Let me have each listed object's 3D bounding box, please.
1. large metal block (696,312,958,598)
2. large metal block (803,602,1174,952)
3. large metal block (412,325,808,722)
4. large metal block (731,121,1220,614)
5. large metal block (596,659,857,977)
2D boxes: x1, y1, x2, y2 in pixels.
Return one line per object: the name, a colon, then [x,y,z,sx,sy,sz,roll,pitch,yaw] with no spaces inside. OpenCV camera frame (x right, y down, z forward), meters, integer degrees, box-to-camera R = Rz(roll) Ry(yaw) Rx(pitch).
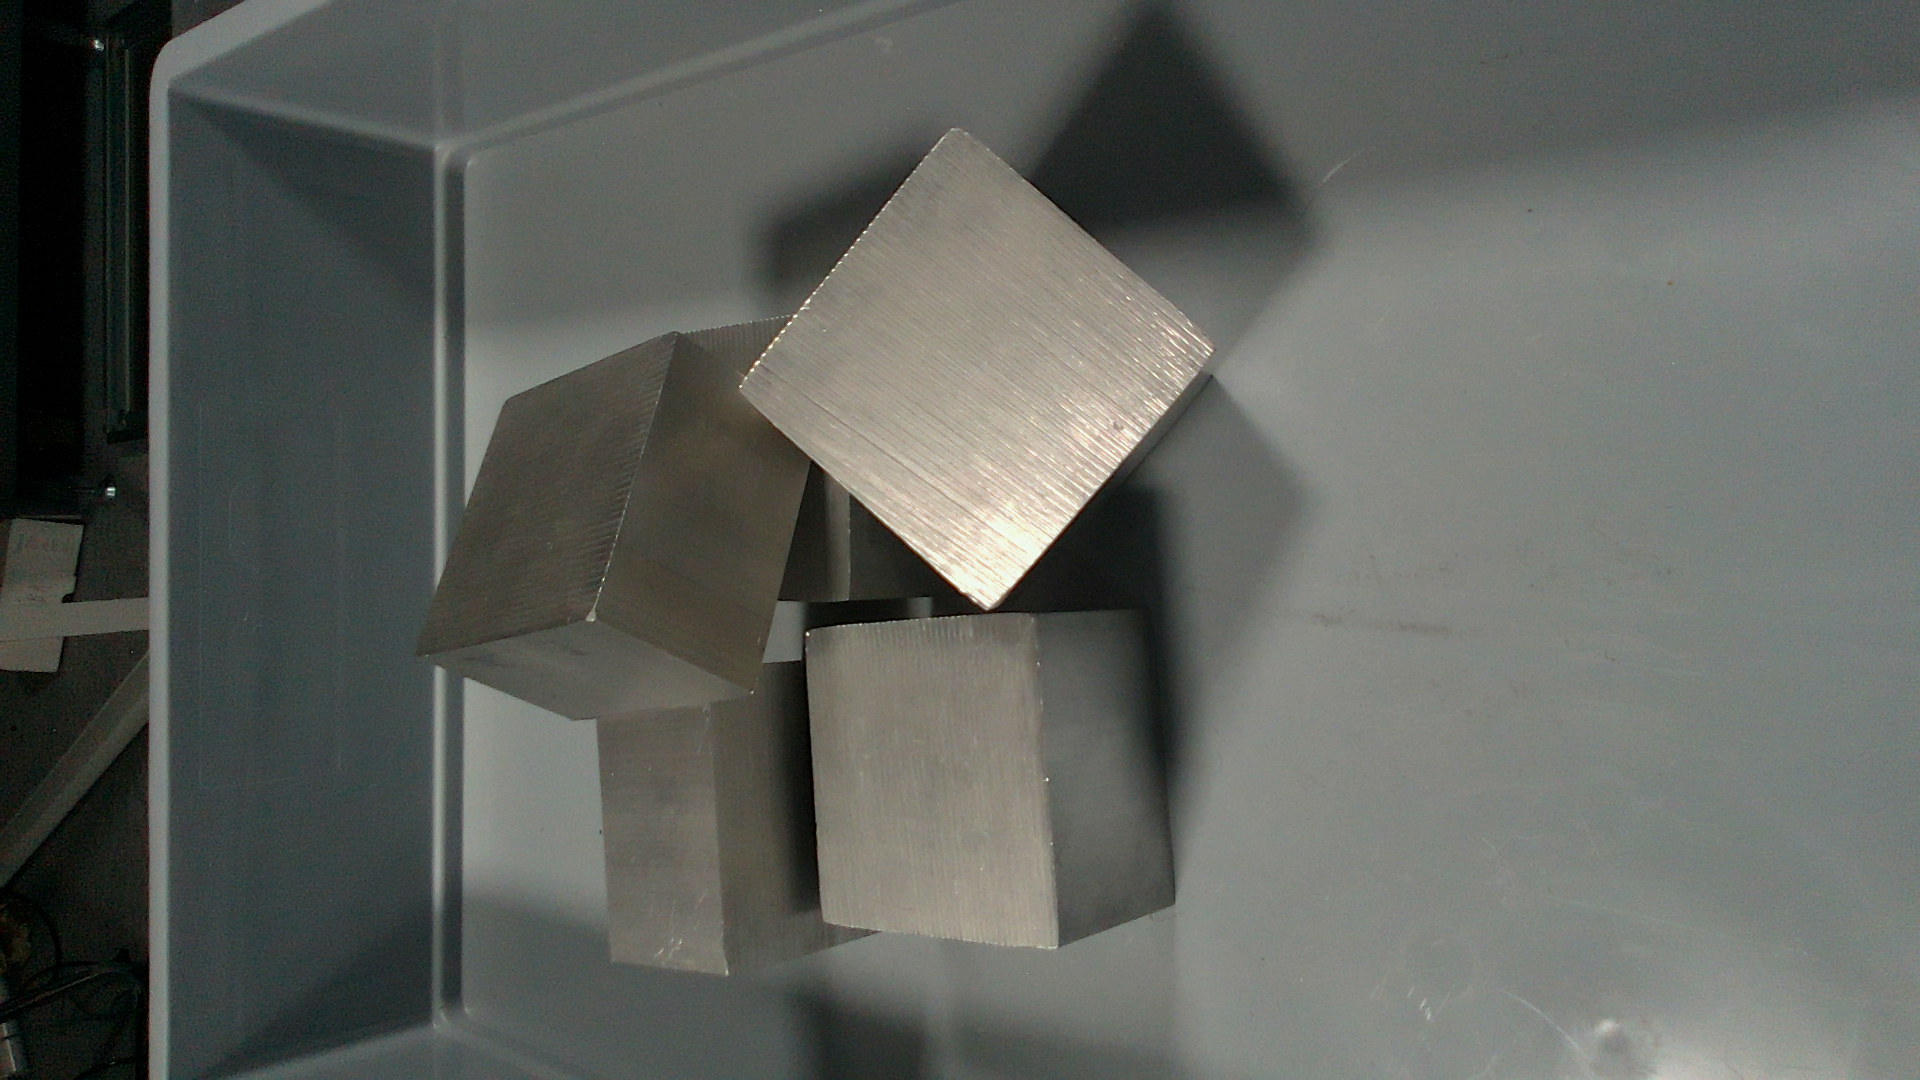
large metal block: [-0.044,-0.024,0.415,0.080,0.050,0.080,-2,89,40]
large metal block: [0.006,0.060,0.369,0.080,0.050,0.080,-7,85,40]
large metal block: [-0.091,-0.001,0.368,0.080,0.050,0.080,-12,57,40]
large metal block: [0.006,-0.039,0.339,0.080,0.050,0.080,41,95,7]
large metal block: [-0.057,0.076,0.405,0.050,0.080,0.080,-9,84,40]
